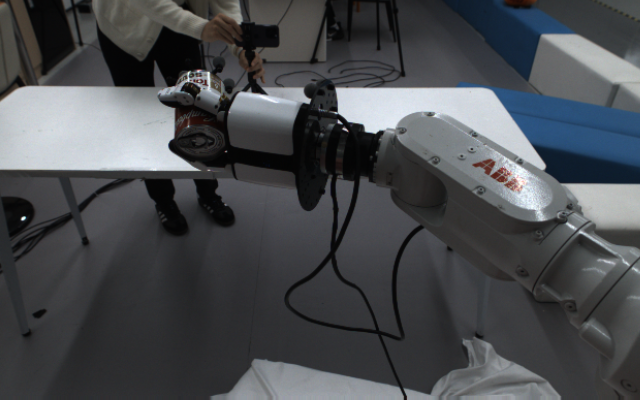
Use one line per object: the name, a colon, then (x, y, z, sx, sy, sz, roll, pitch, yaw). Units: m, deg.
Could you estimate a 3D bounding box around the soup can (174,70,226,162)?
soup can: (-0.155, -0.110, 0.630, 0.067, 0.067, 0.101, -5, 56, -10)
